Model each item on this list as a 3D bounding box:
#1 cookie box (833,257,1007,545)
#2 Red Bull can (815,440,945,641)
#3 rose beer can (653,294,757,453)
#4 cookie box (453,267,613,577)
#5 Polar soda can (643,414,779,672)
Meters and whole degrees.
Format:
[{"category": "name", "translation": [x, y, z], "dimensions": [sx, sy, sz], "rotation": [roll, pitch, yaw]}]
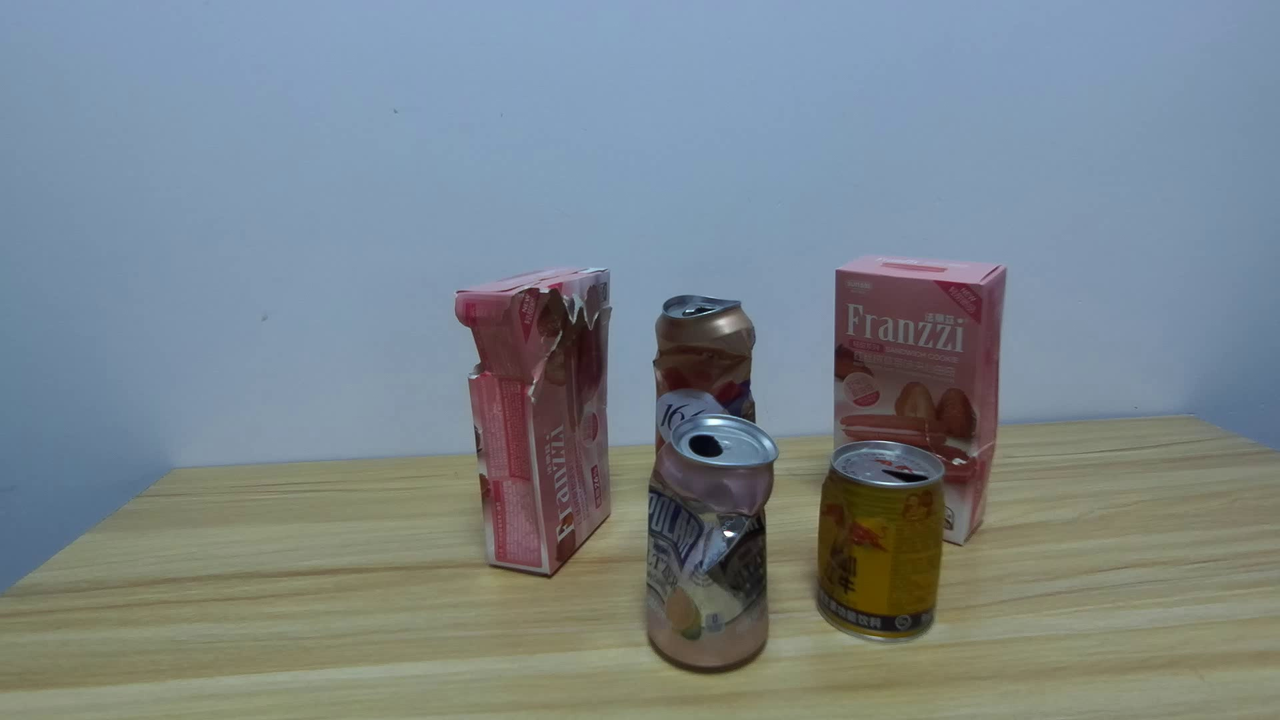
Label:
[{"category": "cookie box", "translation": [0.190, 0.028, 0.482], "dimensions": [0.104, 0.187, 0.049], "rotation": [12, 27, 40]}, {"category": "Red Bull can", "translation": [0.135, 0.099, 0.397], "dimensions": [0.069, 0.092, 0.069], "rotation": [-1, 16, 1]}, {"category": "rose beer can", "translation": [0.045, 0.039, 0.495], "dimensions": [0.073, 0.162, 0.068], "rotation": [1, 10, 8]}, {"category": "cookie box", "translation": [-0.059, 0.037, 0.468], "dimensions": [0.059, 0.186, 0.105], "rotation": [4, 17, 25]}, {"category": "Polar soda can", "translation": [0.041, 0.098, 0.370], "dimensions": [0.067, 0.121, 0.071], "rotation": [0, 15, -15]}]
